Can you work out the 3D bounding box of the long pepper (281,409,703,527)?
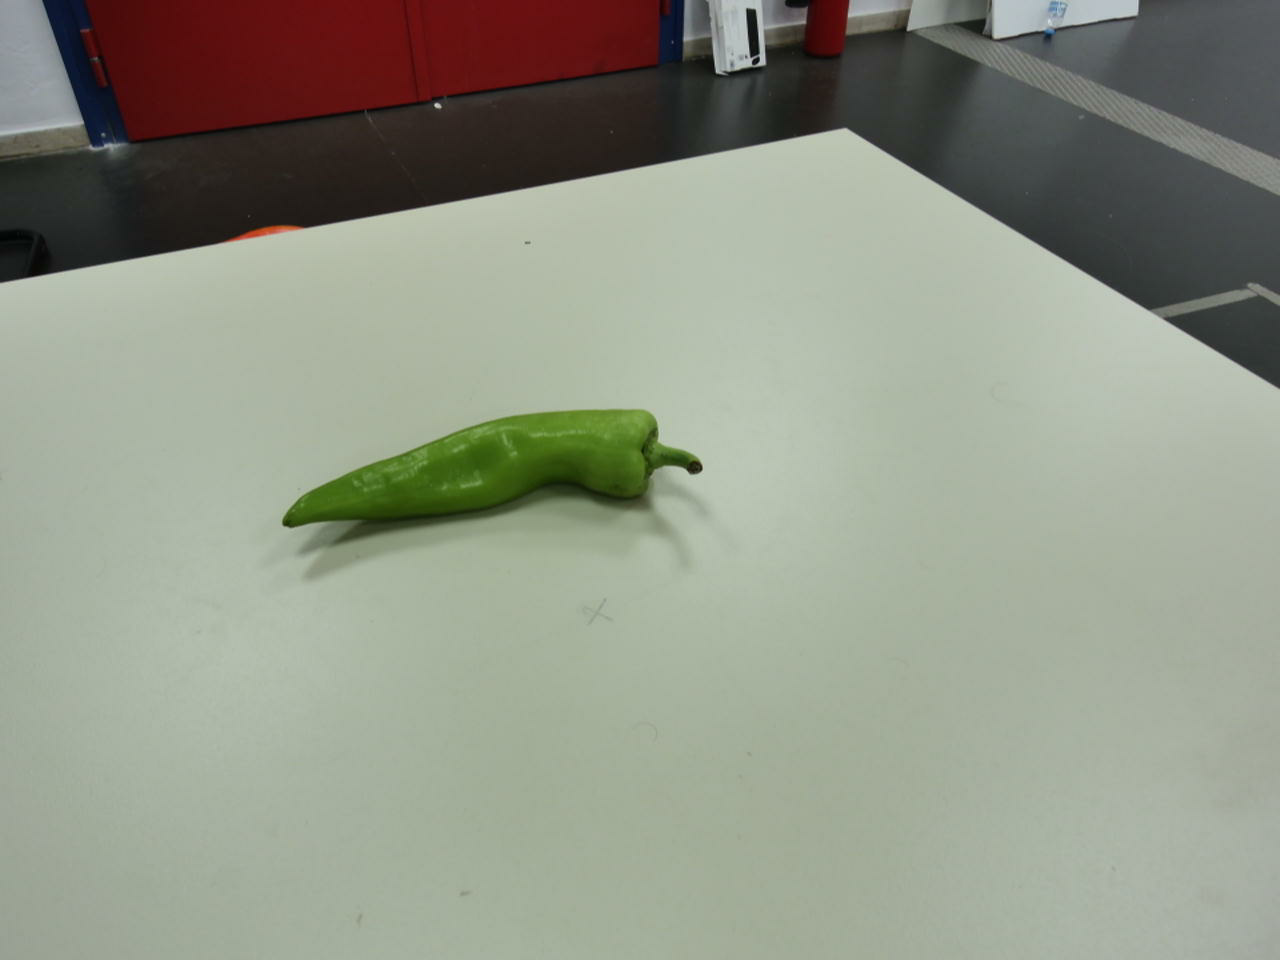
[{"bbox_3d":[-0.073,-0.007,0.510,0.204,0.045,0.065,-5,39,-8],"label":"long pepper"}]
